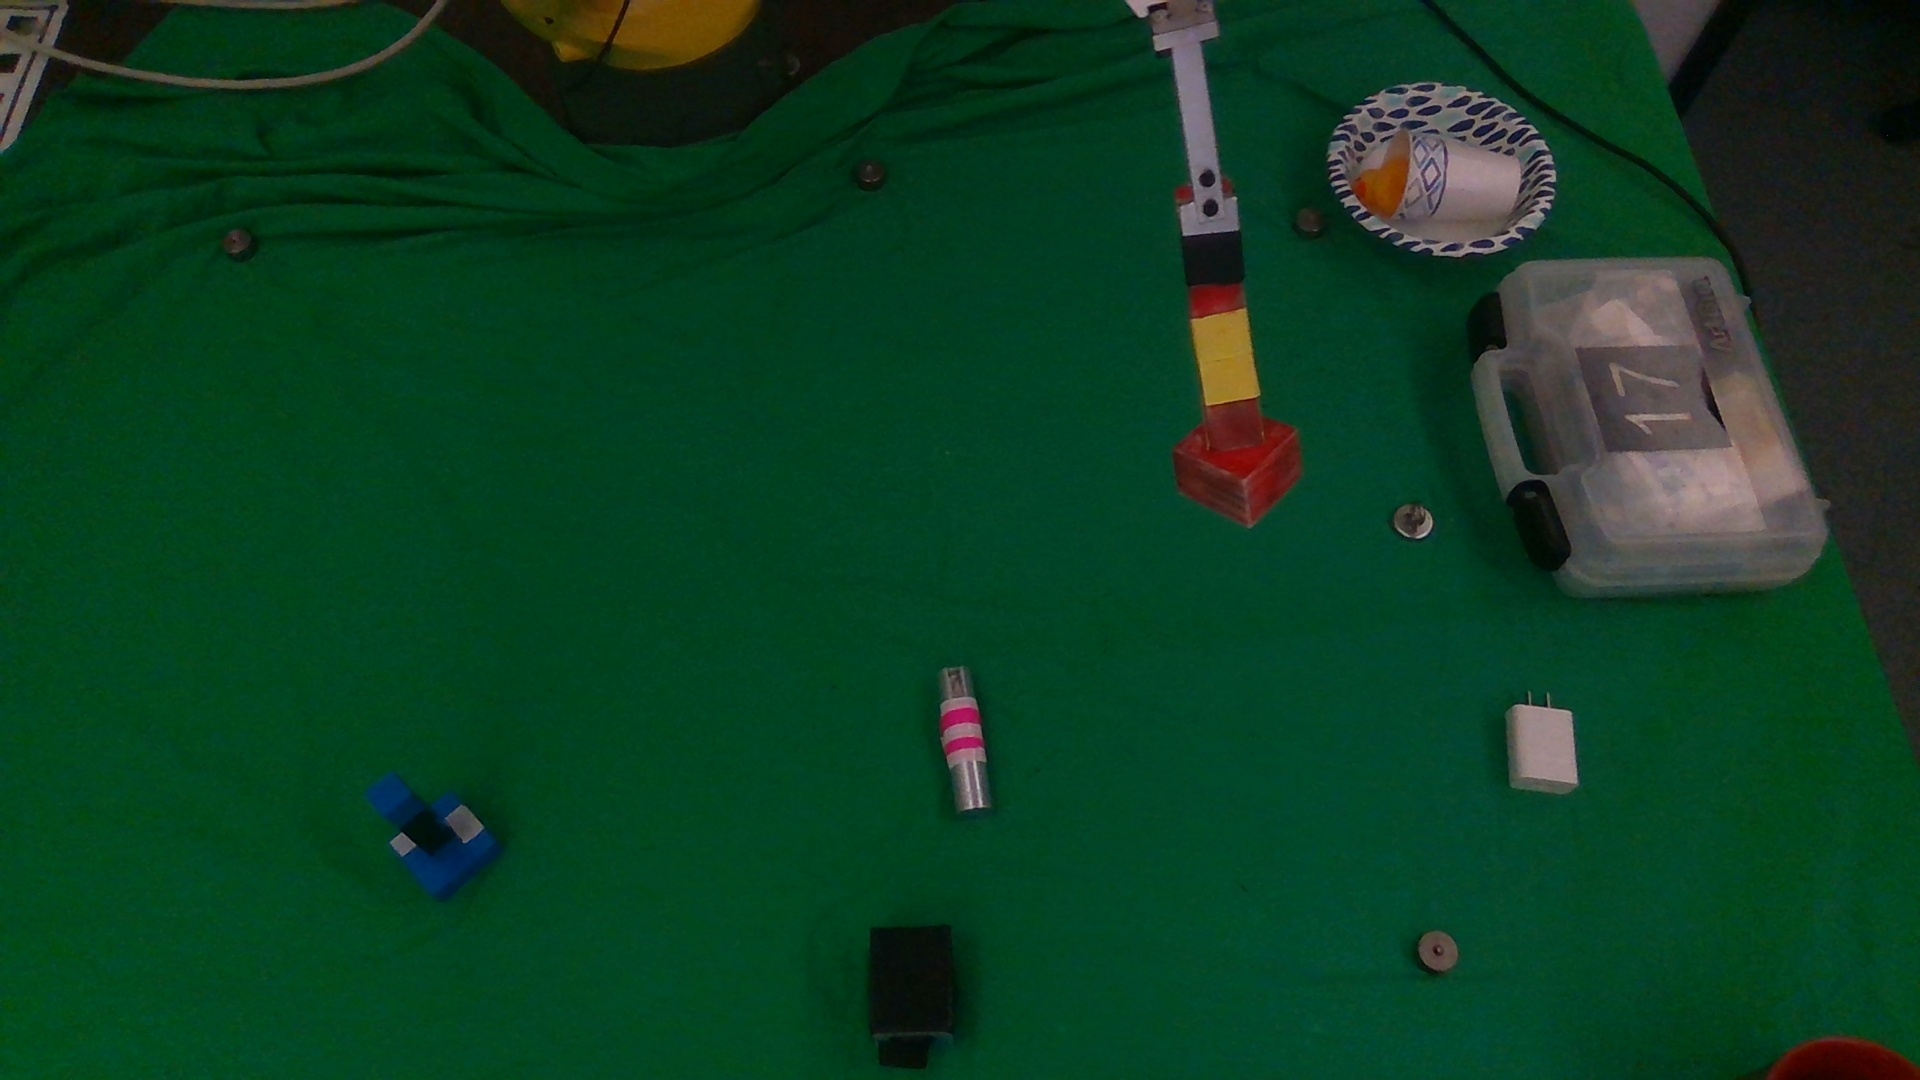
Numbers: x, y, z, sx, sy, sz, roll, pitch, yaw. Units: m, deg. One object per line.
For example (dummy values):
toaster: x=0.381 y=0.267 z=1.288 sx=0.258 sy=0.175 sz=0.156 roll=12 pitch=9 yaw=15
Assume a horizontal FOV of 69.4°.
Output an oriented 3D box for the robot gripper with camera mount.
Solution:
robot gripper with camera mount: x=0.163 y=-0.198 z=0.472 sx=0.193 sy=0.158 sz=0.119 roll=-9 pitch=23 yaw=5

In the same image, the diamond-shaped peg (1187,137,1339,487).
diamond-shaped peg: x=0.109 y=-0.089 z=0.521 sx=0.045 sy=0.122 sz=0.074 roll=-21 pitch=23 yaw=-13
